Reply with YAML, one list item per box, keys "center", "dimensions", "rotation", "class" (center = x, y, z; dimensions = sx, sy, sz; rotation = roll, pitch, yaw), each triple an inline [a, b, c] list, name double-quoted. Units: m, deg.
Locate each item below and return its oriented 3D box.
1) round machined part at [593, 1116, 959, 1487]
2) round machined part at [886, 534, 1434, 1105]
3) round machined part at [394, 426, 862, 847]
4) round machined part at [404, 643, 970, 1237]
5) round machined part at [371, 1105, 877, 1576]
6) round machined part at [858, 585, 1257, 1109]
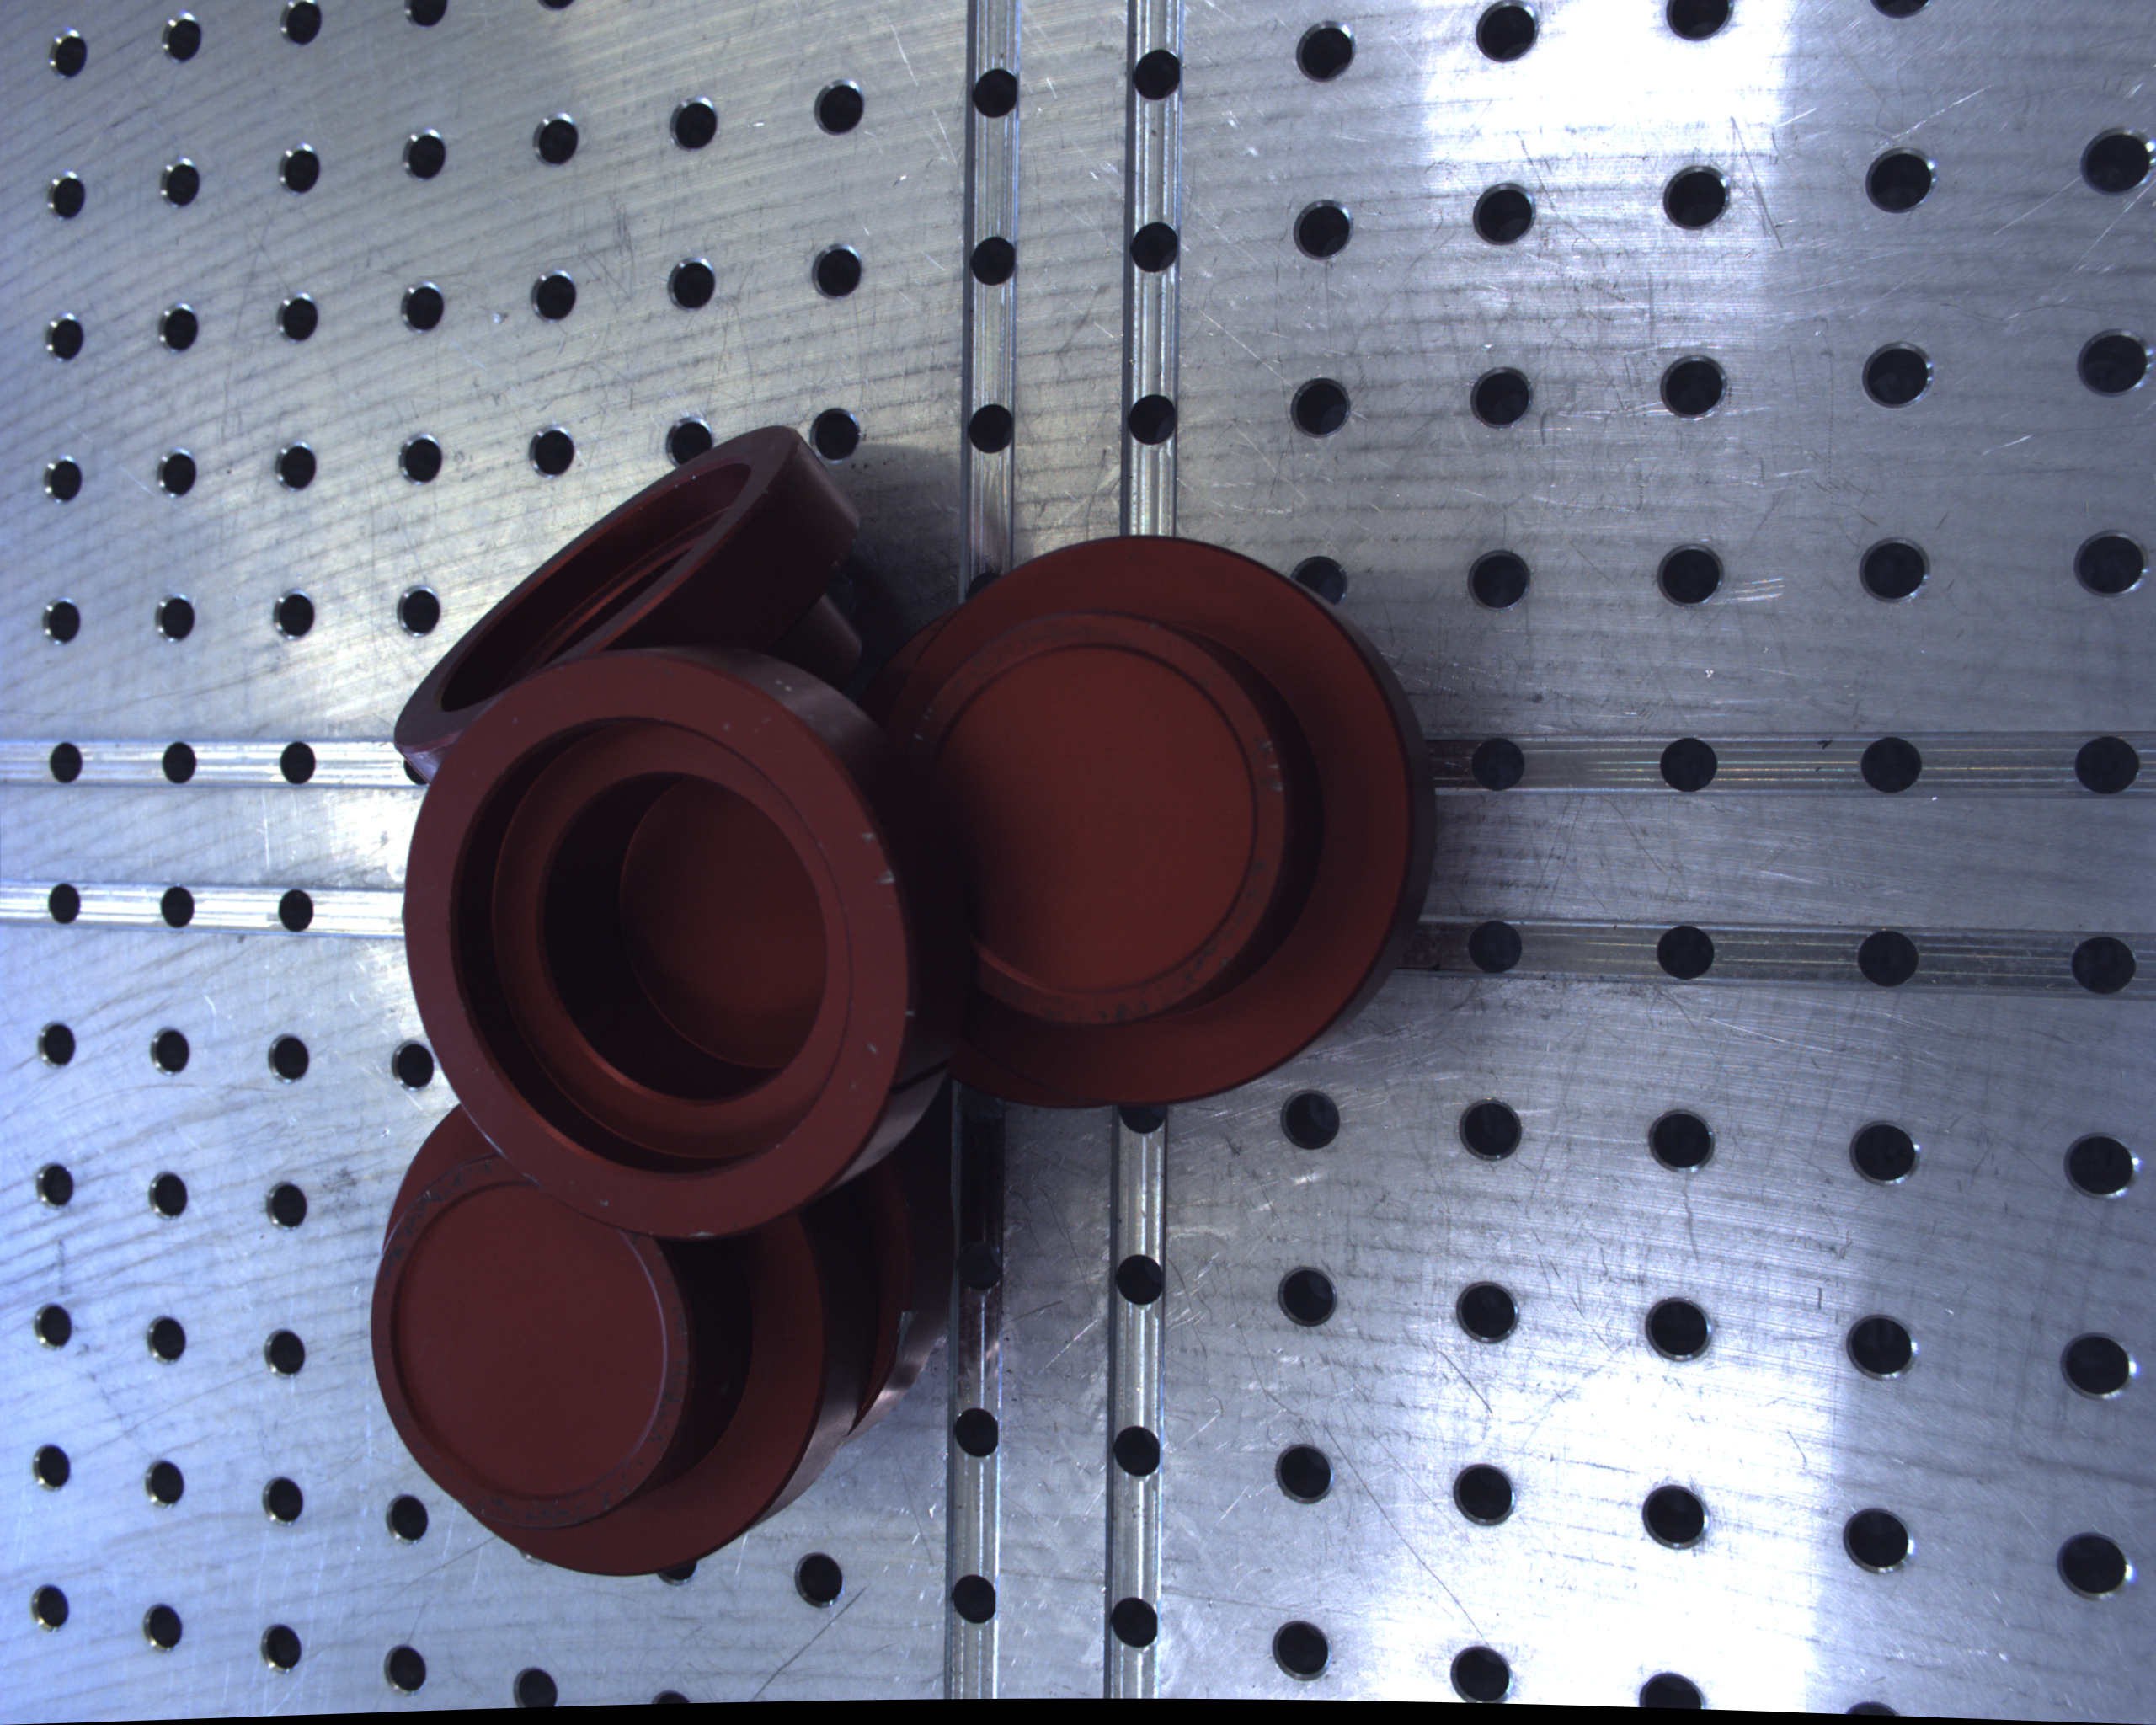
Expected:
- center: [-0.077, 0.075, 0.409]
  dimensions: [0.098, 0.042, 0.097]
  rotation: [0, 90, 20]
  class: "round machined part"
- center: [0.008, -0.007, 0.355]
  dimensions: [0.098, 0.042, 0.097]
  rotation: [0, 89, 20]
  class: "round machined part"
- center: [-0.082, -0.040, 0.413]
  dimensions: [0.098, 0.098, 0.042]
  rotation: [-29, 116, 17]
  class: "round machined part"
- center: [-0.062, 0.011, 0.358]
  dimensions: [0.098, 0.042, 0.097]
  rotation: [4, 99, 22]
  class: "round machined part"
- center: [-0.091, 0.085, 0.391]
  dimensions: [0.098, 0.042, 0.097]
  rotation: [0, 90, 20]
  class: "round machined part"
- center: [-0.004, -0.003, 0.383]
  dimensions: [0.098, 0.042, 0.097]
  rotation: [0, 90, 20]
  class: "round machined part"
